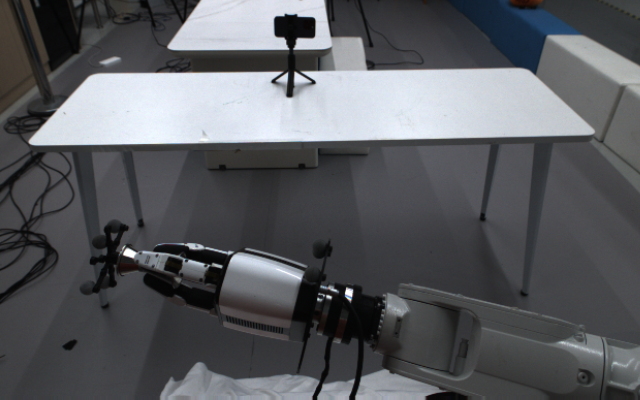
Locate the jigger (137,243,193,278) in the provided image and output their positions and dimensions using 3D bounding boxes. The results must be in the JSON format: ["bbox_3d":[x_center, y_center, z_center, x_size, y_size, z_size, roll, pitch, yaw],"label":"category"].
[{"bbox_3d":[-0.192,0.075,0.573,0.071,0.043,0.043,10,35,1],"label":"jigger"}]
